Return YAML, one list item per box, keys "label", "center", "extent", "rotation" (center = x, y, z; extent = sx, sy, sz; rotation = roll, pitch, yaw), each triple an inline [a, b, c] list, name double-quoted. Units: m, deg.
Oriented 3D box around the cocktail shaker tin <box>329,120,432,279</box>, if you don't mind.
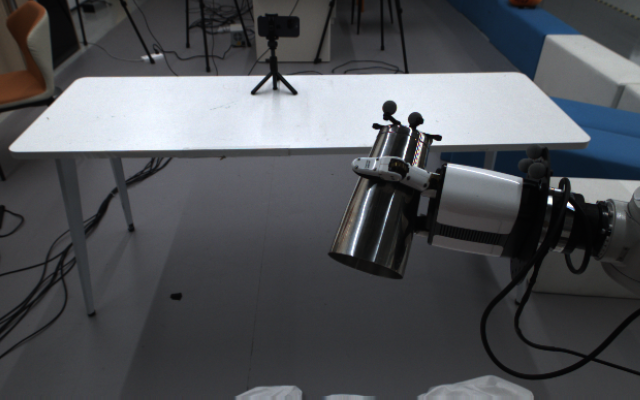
- label: "cocktail shaker tin"
  center: [0.080, 0.000, 0.582]
  extent: [0.093, 0.093, 0.170]
  rotation: [15, 75, 17]
